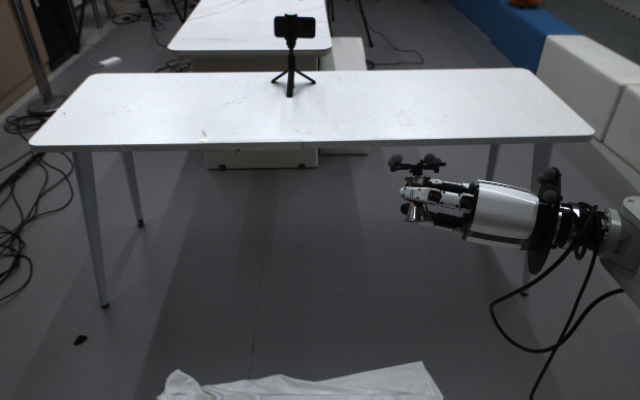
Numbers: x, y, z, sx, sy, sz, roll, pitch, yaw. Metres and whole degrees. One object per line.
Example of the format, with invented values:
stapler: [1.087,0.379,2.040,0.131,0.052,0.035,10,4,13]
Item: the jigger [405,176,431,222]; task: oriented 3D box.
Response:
jigger: [0.149,-0.003,0.747,0.043,0.071,0.043,1,-5,0]
